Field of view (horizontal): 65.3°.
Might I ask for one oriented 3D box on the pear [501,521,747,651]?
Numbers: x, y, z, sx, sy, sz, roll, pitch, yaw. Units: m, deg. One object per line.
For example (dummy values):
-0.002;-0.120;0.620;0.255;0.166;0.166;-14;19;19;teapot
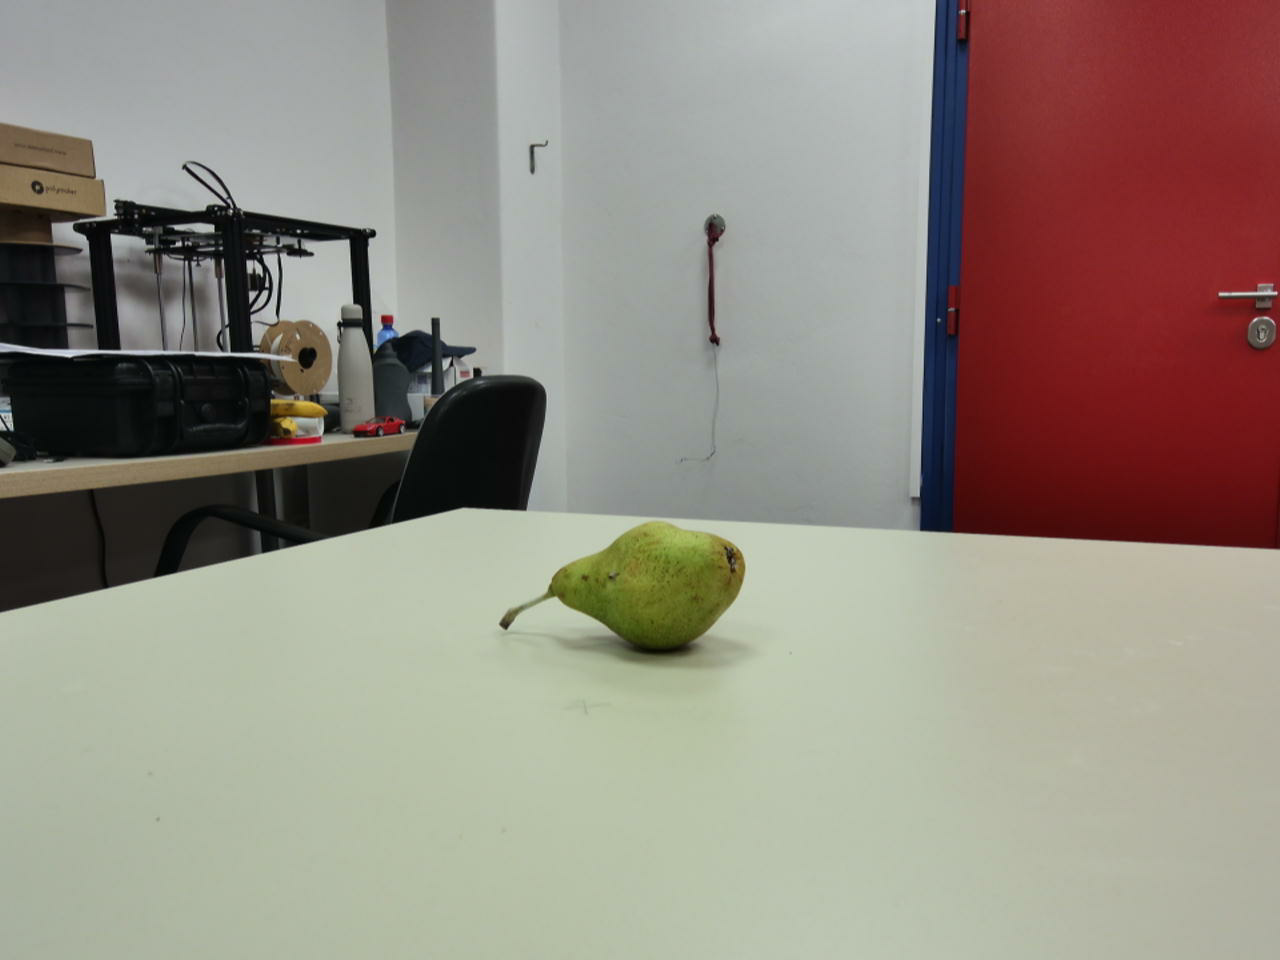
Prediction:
-0.006;0.047;0.456;0.111;0.056;0.056;4;4;40;pear
